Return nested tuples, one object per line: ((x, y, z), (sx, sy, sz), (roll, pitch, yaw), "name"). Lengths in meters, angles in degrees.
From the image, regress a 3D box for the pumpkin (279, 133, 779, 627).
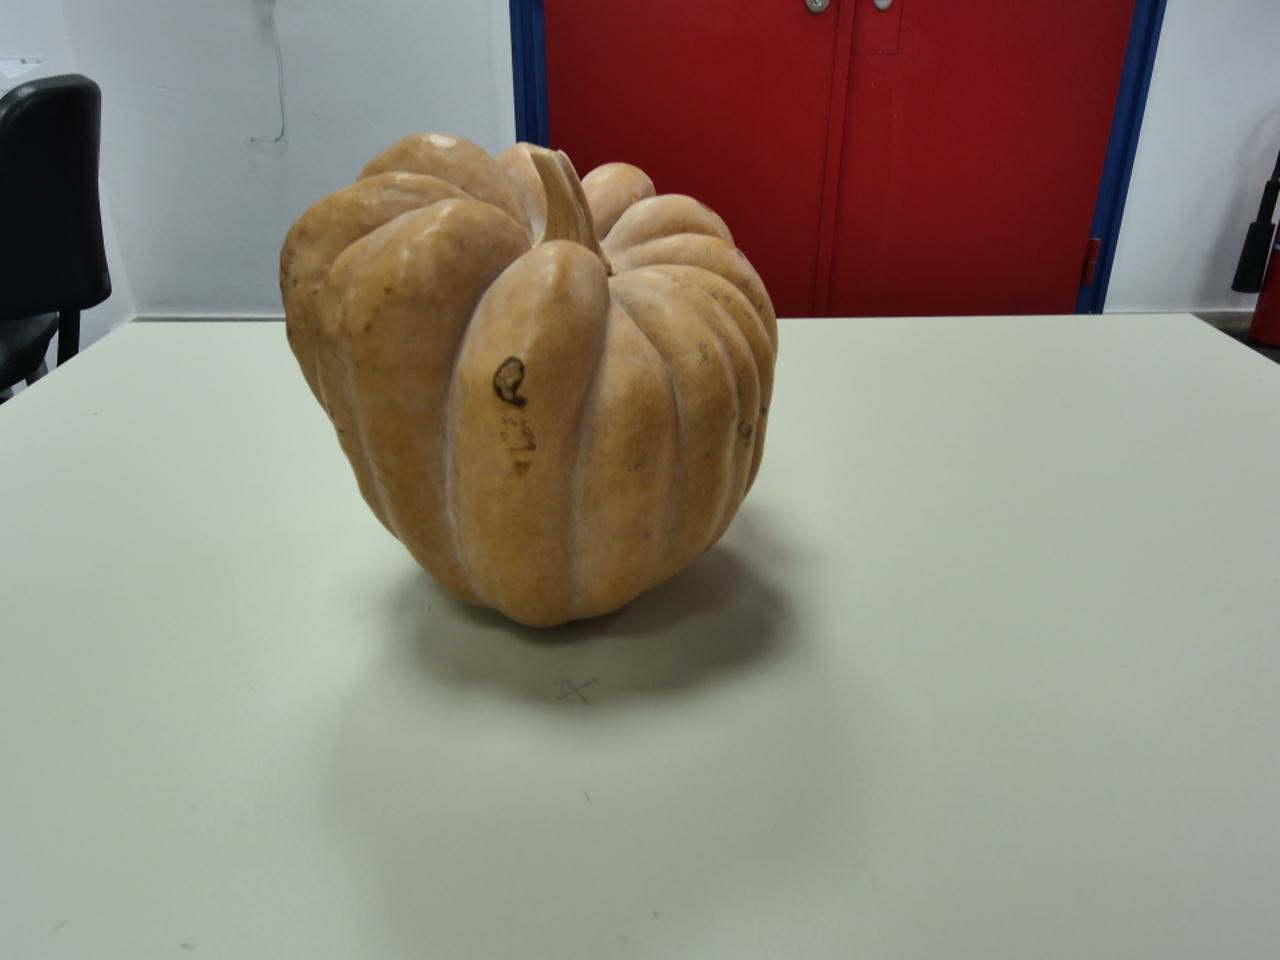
((-0.039, -0.042, 0.397), (0.199, 0.177, 0.198), (0, 25, 0), "pumpkin")
